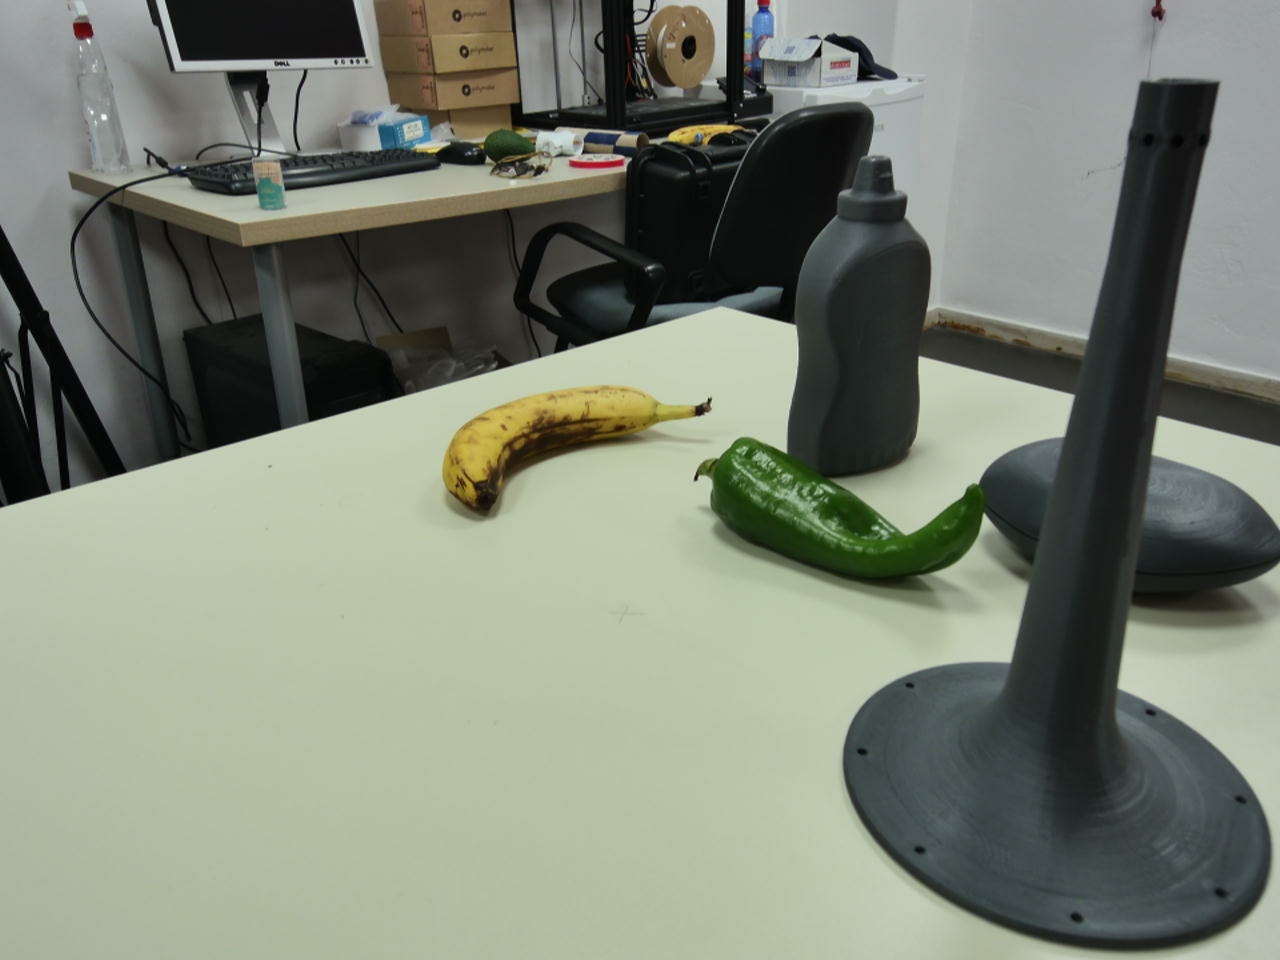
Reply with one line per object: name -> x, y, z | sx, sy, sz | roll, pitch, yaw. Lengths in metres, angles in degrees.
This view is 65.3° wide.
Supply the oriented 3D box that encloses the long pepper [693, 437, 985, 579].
long pepper -> 0.096, 0.011, 0.539 | 0.058, 0.065, 0.175 | -20, 31, -39
